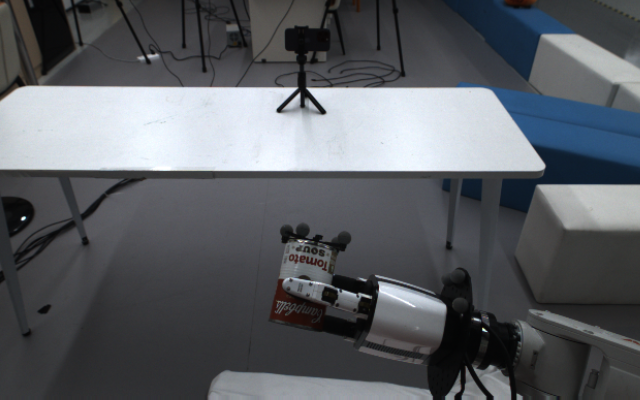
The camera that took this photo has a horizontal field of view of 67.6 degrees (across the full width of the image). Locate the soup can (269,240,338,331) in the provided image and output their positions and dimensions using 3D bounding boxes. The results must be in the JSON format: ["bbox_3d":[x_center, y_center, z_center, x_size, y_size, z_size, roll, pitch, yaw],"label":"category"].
[{"bbox_3d":[-0.018,0.105,0.598,0.067,0.067,0.101,9,74,9],"label":"soup can"}]
